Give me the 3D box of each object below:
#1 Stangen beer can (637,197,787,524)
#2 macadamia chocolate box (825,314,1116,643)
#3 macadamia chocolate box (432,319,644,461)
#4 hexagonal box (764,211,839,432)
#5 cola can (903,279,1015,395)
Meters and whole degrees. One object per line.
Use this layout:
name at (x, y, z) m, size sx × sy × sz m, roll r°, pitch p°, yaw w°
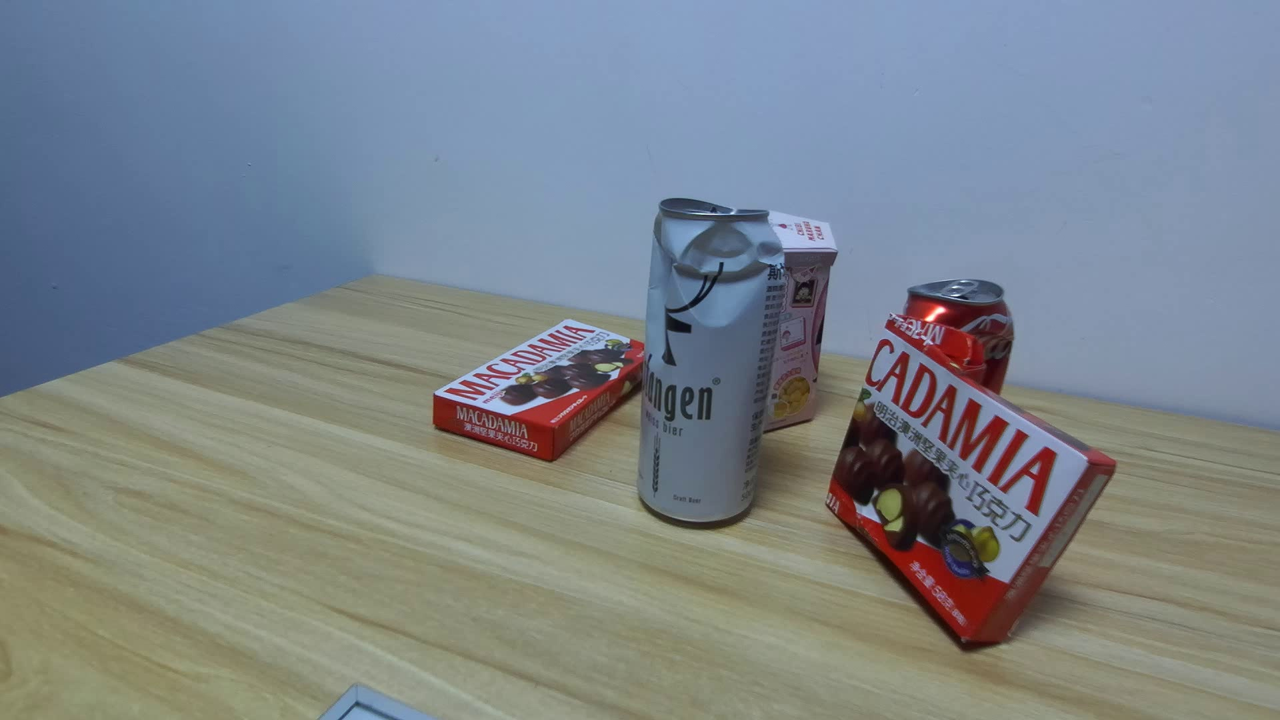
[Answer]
Stangen beer can at (0.035, 0.003, 0.373) m, size 0.066 × 0.166 × 0.066 m, roll 0°, pitch 22°, yaw -8°
macadamia chocolate box at (0.149, 0.051, 0.334) m, size 0.056 × 0.112 × 0.126 m, roll -3°, pitch 23°, yaw -13°
macadamia chocolate box at (-0.053, 0.012, 0.524) m, size 0.102 × 0.027 × 0.187 m, roll 14°, pitch 26°, yaw 22°
hexagonal box at (0.084, -0.029, 0.490) m, size 0.085 × 0.135 × 0.092 m, roll 3°, pitch 23°, yaw 4°
cola can at (0.194, 0.006, 0.448) m, size 0.069 × 0.112 × 0.065 m, roll 2°, pitch 23°, yaw 2°
